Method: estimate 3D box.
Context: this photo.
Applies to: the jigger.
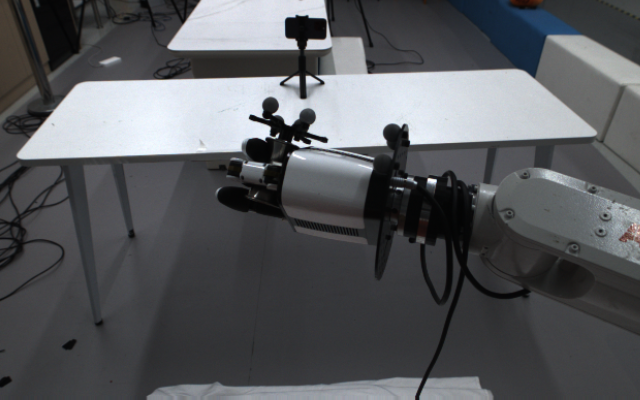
[{"bbox_3d":[-0.049,-0.029,0.519,0.043,0.071,0.043,18,-6,2],"label":"jigger"}]
